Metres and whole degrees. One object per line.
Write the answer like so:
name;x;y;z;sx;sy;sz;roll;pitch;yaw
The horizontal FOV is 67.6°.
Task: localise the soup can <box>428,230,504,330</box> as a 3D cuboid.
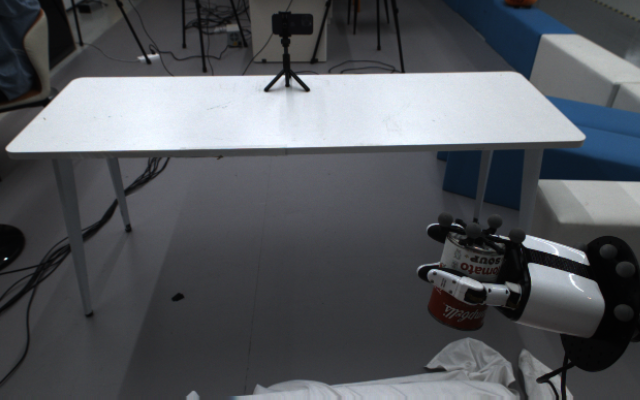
soup can;0.173;0.092;0.571;0.067;0.101;0.067;9;19;-3
